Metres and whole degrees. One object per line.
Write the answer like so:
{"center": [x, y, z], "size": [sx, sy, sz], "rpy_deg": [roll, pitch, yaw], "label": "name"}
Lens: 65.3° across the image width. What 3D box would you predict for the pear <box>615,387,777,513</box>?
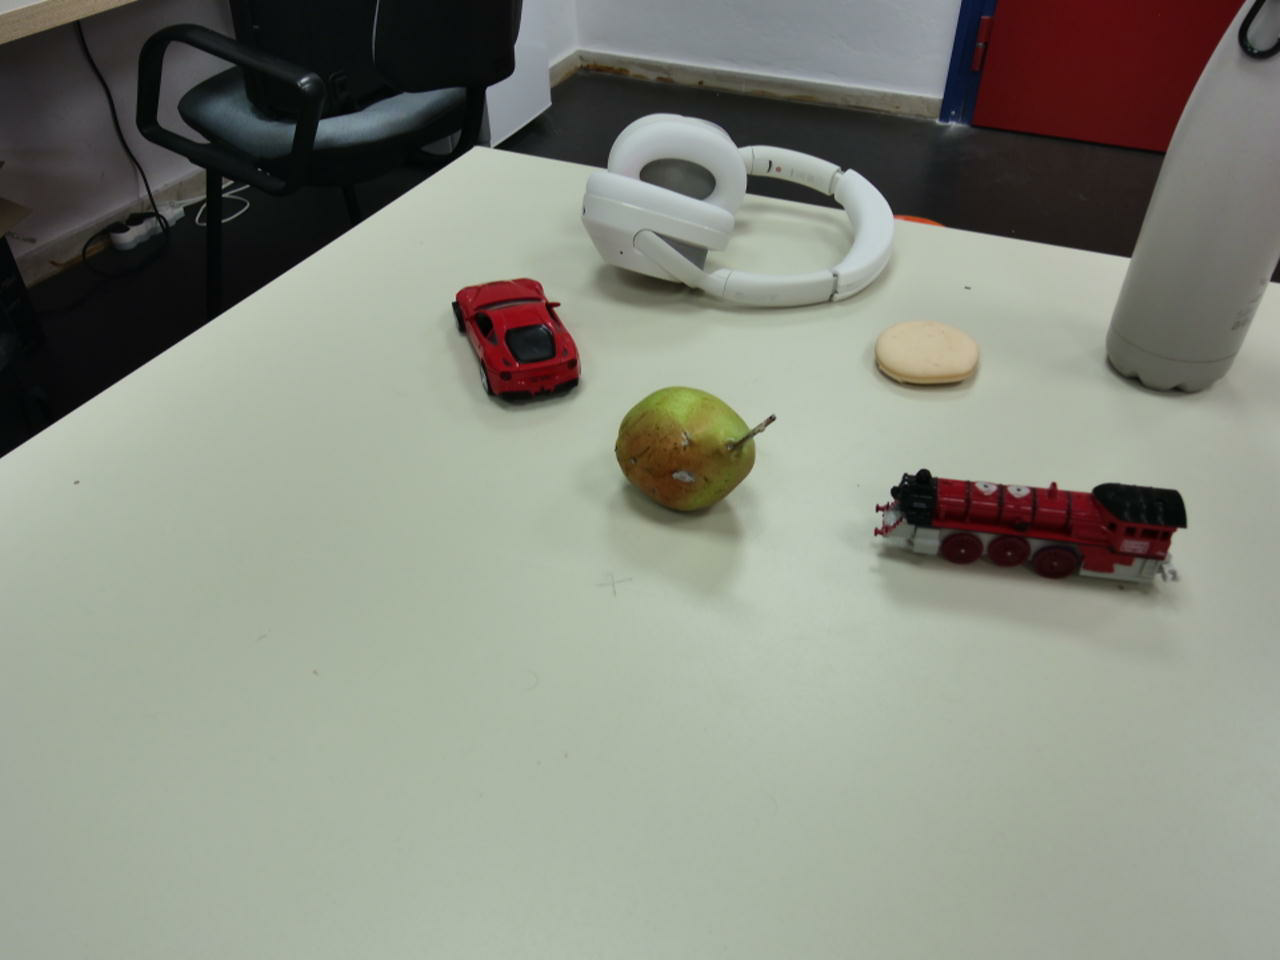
{"center": [0.023, -0.018, 0.510], "size": [0.068, 0.069, 0.070], "rpy_deg": [-8, 39, -10], "label": "pear"}
